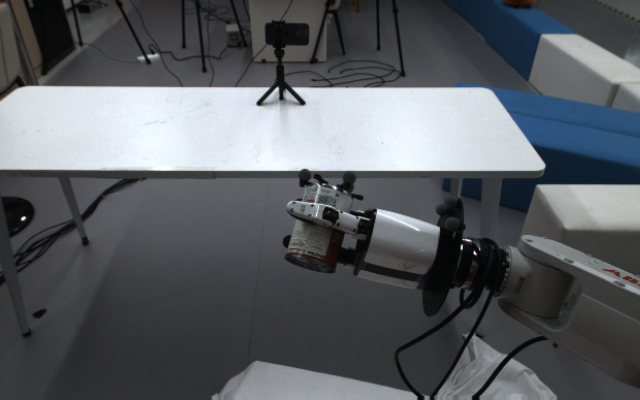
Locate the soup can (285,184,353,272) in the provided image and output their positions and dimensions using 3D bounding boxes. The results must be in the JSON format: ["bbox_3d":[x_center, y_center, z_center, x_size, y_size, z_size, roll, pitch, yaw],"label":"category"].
[{"bbox_3d":[0.001,0.037,0.631,0.067,0.067,0.101,11,72,13],"label":"soup can"}]
